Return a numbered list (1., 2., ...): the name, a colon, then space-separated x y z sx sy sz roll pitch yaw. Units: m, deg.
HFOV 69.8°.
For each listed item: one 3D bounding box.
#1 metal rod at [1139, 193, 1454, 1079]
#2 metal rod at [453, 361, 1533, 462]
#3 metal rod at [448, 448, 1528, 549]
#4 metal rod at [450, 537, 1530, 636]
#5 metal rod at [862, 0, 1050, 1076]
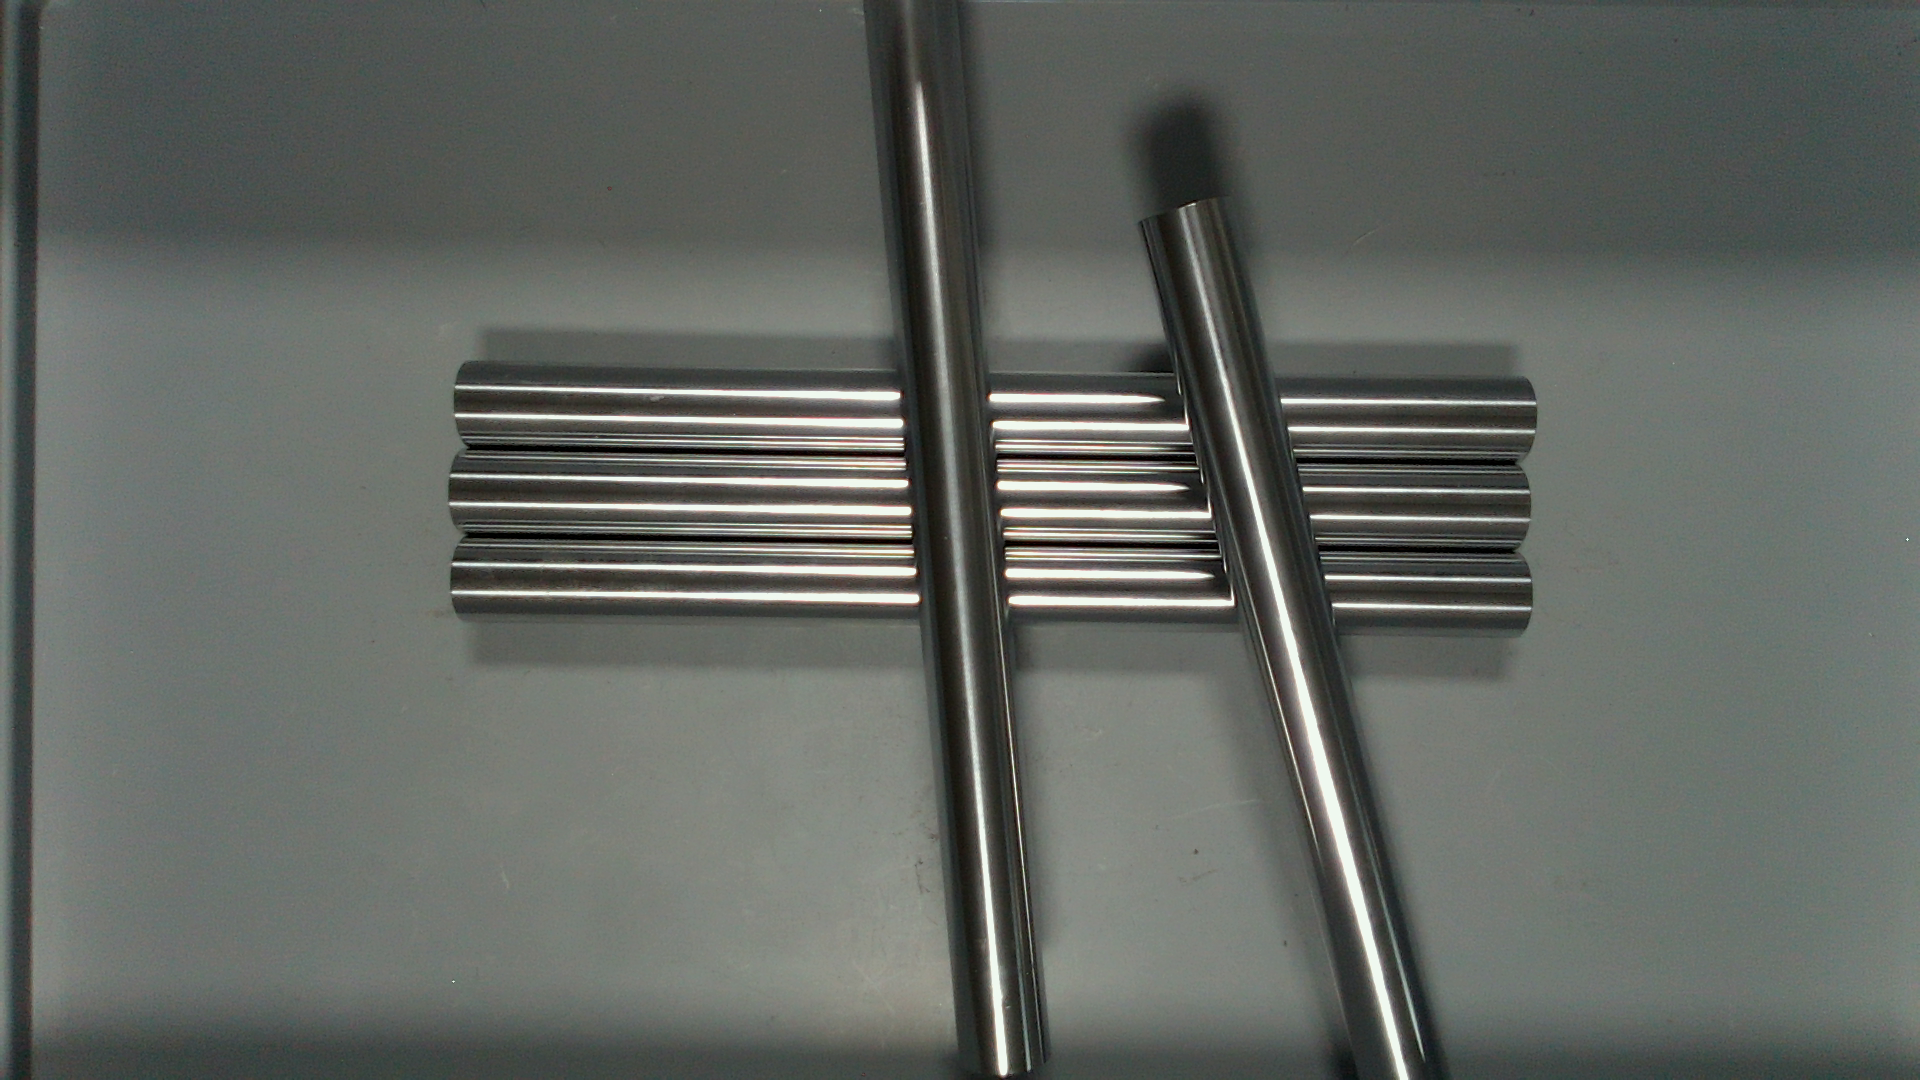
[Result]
1. metal rod: 0.099 0.057 0.375 0.025 0.025 0.300 -16 97 0
2. metal rod: 0.009 -0.037 0.394 0.300 0.025 0.025 1 90 0
3. metal rod: 0.008 -0.012 0.394 0.300 0.025 0.025 1 90 0
4. metal rod: 0.009 0.013 0.395 0.300 0.025 0.025 1 90 0
5. metal rod: -0.002 -0.010 0.369 0.025 0.025 0.300 -5 90 0
